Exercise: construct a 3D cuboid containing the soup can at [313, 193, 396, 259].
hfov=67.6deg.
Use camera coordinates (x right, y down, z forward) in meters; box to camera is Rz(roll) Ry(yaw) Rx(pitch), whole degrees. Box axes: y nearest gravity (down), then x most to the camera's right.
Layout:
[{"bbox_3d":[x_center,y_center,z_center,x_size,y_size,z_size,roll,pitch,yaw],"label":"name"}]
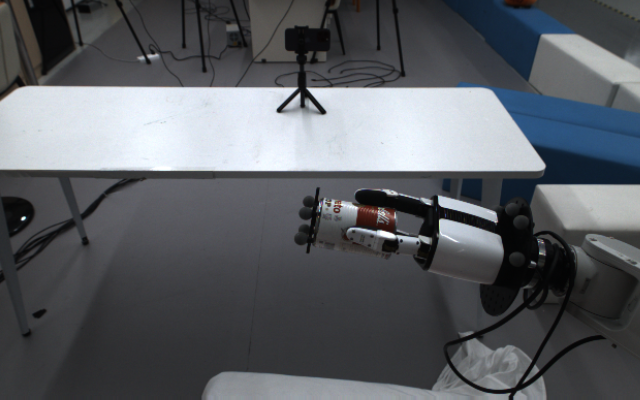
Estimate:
[{"bbox_3d":[0.048,0.037,0.641,0.101,0.067,0.067,9,35,0],"label":"soup can"}]
